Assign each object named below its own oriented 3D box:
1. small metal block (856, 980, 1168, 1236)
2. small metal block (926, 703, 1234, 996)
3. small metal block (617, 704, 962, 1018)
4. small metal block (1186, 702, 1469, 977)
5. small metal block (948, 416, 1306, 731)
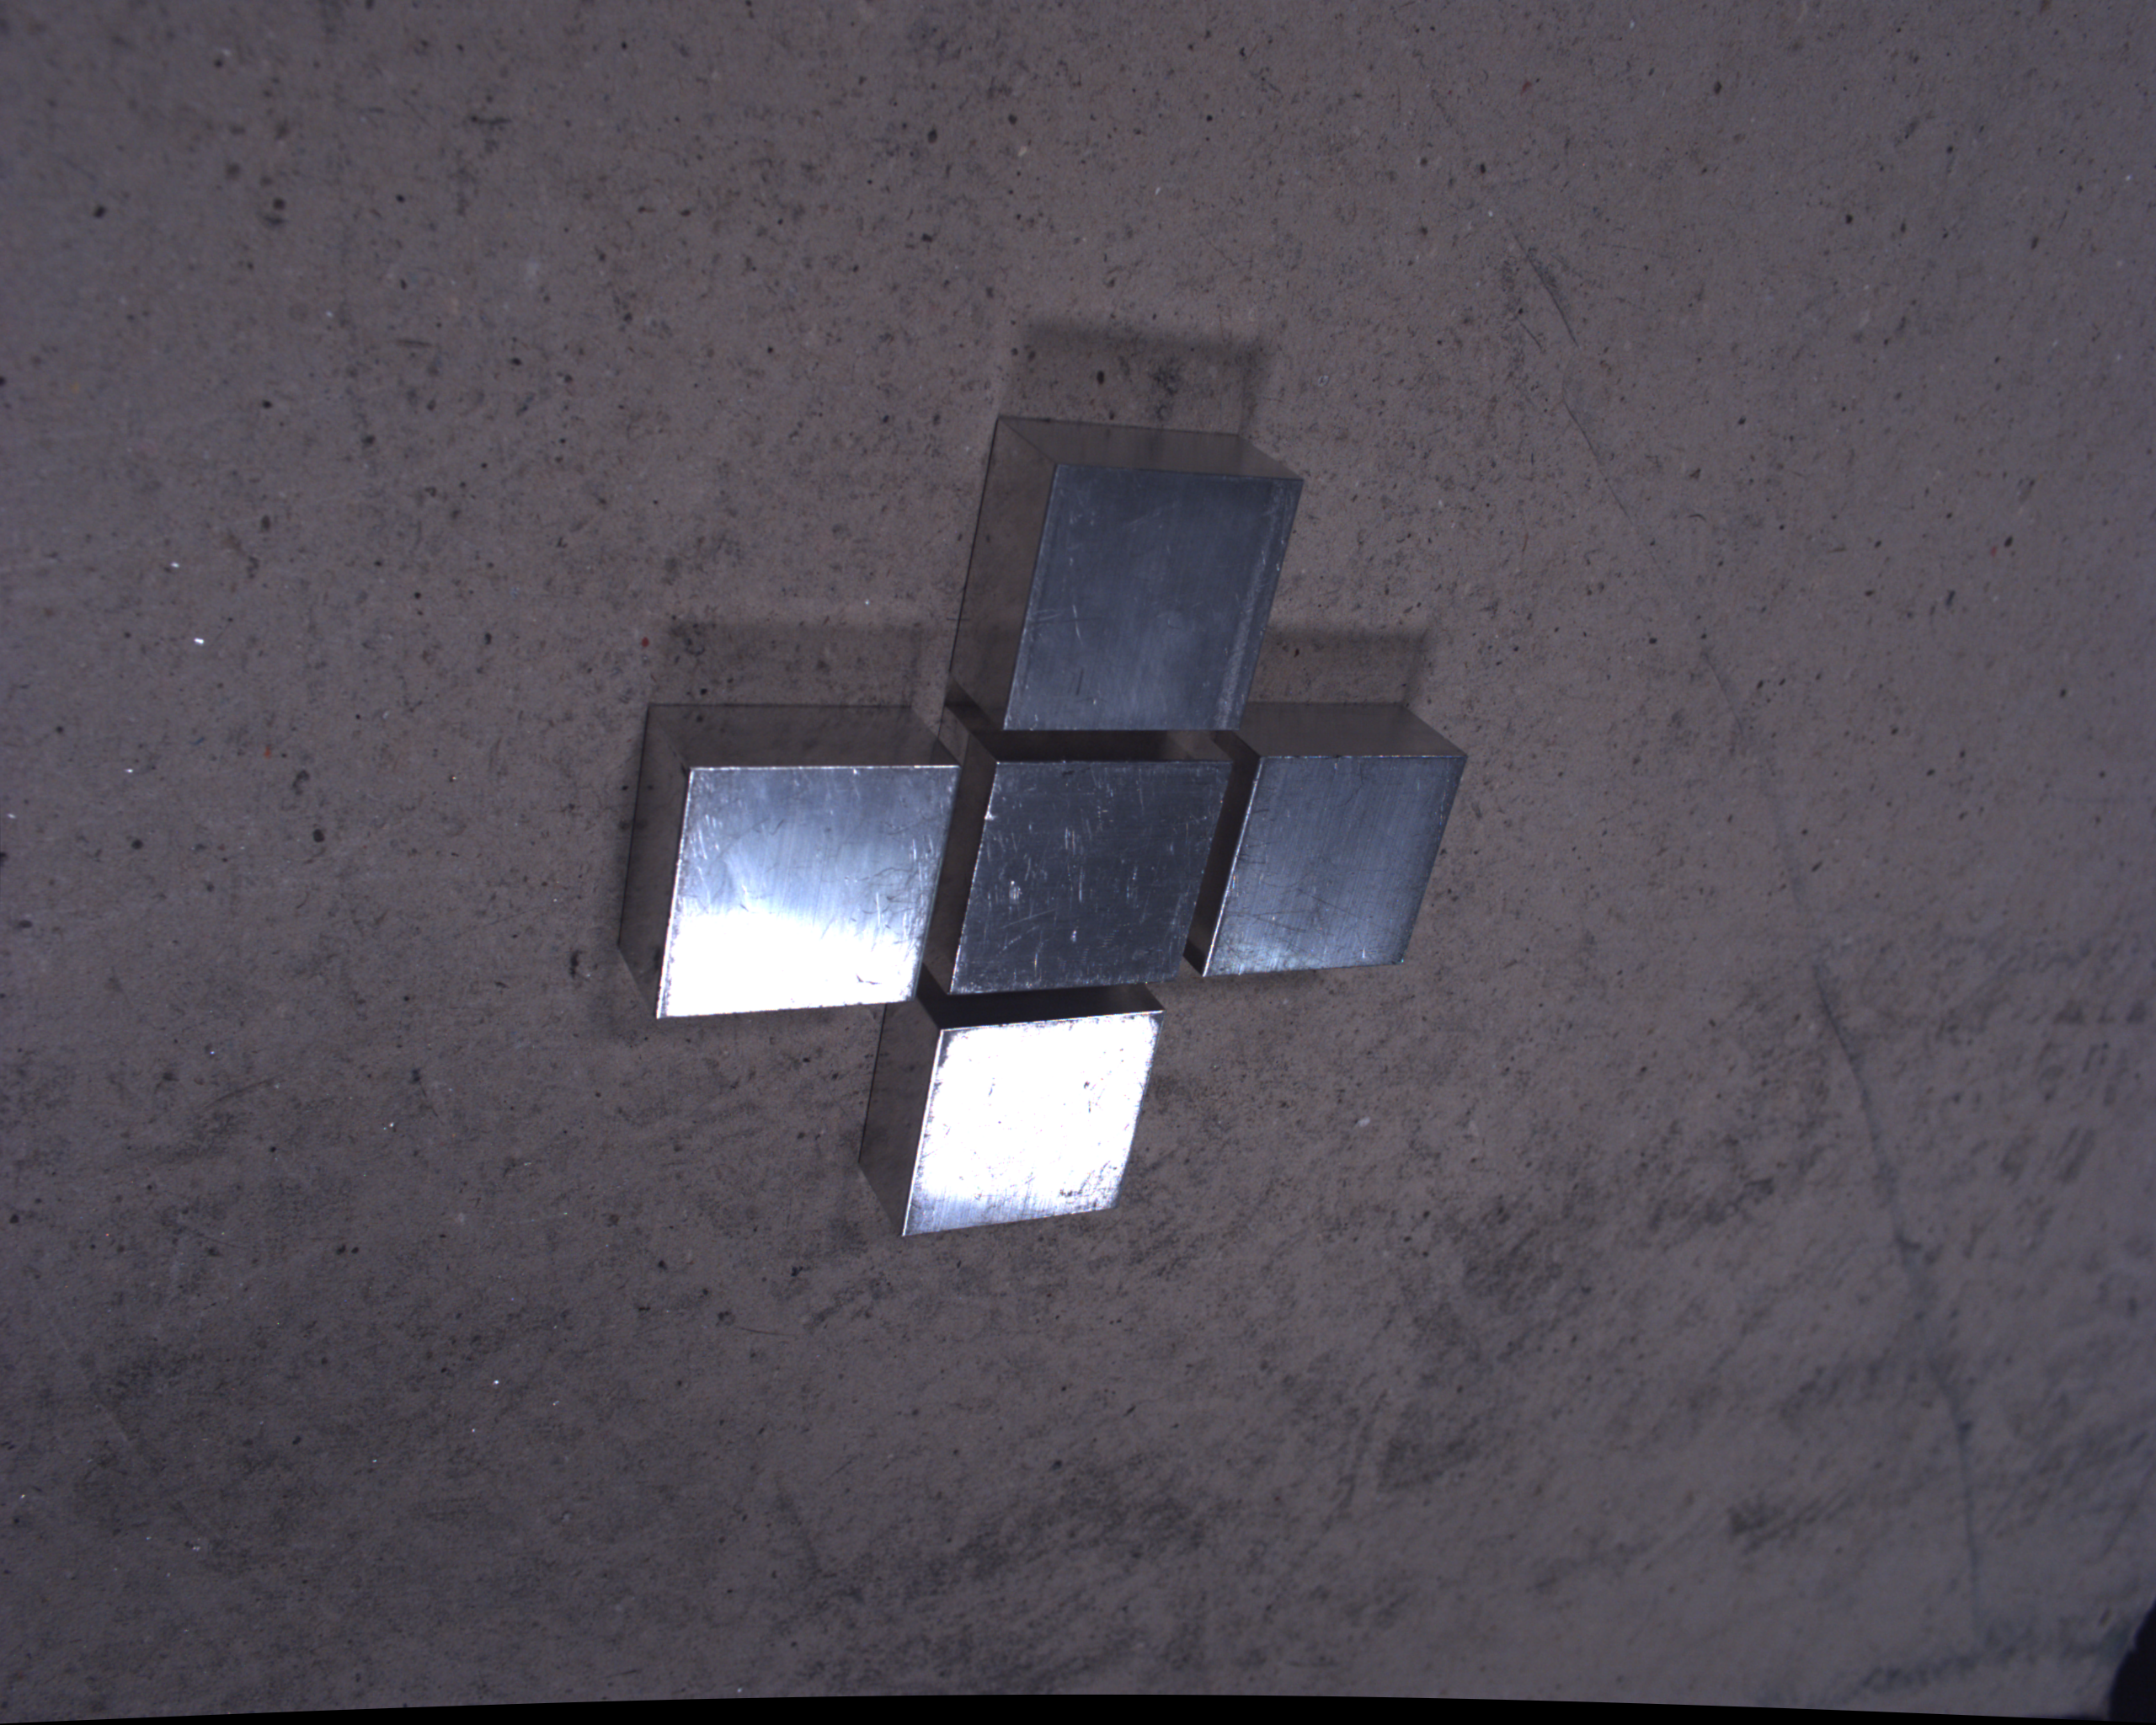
[{"bbox_3d":[-0.014,0.047,0.431,0.050,0.025,0.050,-2,120,-28],"label":"small metal block"},{"bbox_3d":[-0.003,-0.003,0.407,0.050,0.025,0.050,-2,119,-28],"label":"small metal block"},{"bbox_3d":[-0.053,-0.001,0.380,0.050,0.025,0.050,-2,119,-28],"label":"small metal block"},{"bbox_3d":[0.047,-0.005,0.433,0.050,0.025,0.050,-2,119,-28],"label":"small metal block"},{"bbox_3d":[0.008,-0.052,0.382,0.050,0.025,0.050,-2,119,-28],"label":"small metal block"}]
